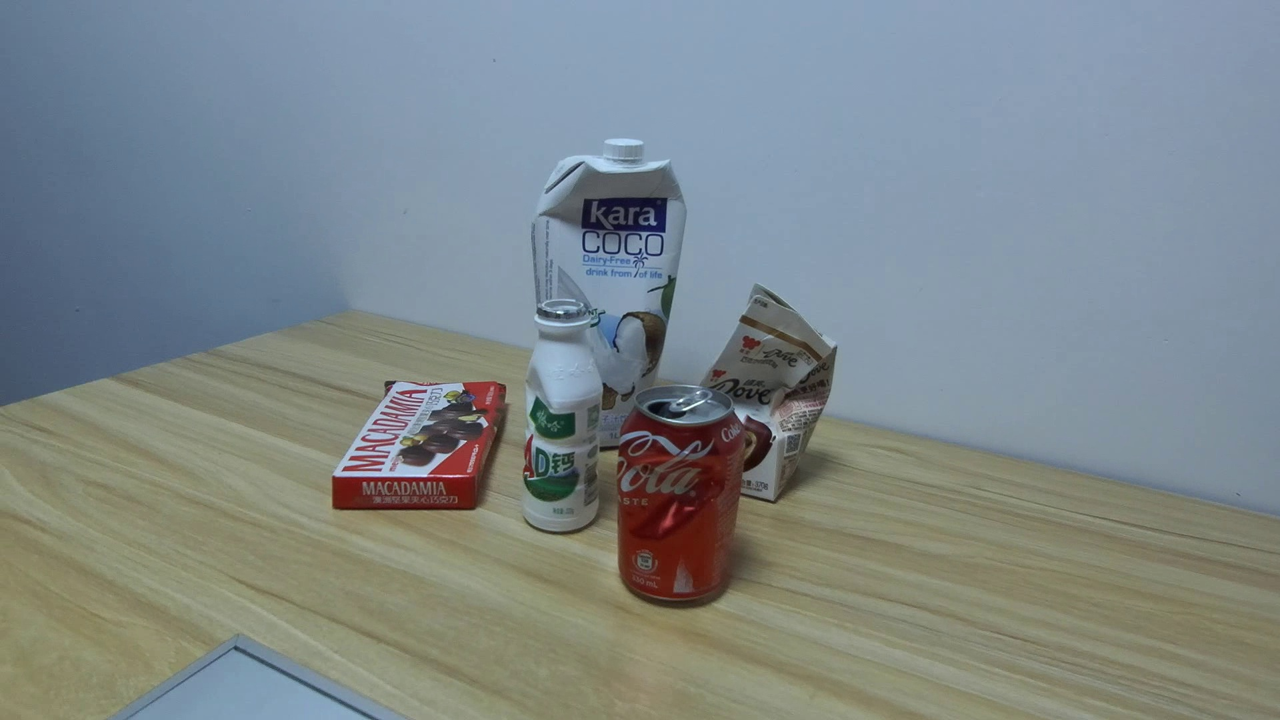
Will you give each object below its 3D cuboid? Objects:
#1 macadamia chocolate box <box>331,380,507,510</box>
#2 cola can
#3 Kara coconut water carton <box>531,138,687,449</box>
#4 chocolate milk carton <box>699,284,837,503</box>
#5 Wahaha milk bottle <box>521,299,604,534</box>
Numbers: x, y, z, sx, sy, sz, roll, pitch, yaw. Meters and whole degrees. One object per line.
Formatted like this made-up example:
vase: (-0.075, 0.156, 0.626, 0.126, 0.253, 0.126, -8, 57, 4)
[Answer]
macadamia chocolate box: (-0.164, 0.059, 0.553, 0.106, 0.028, 0.182, 1, 19, -6)
cola can: (0.023, 0.074, 0.400, 0.066, 0.117, 0.066, 10, 21, 20)
Kara coconut water carton: (-0.027, -0.051, 0.556, 0.115, 0.238, 0.069, -2, 19, -20)
chocolate milk carton: (0.089, 0.024, 0.511, 0.089, 0.155, 0.077, 23, 28, 13)
Wahaha milk bottle: (-0.051, 0.036, 0.452, 0.056, 0.147, 0.056, 3, 20, -1)
